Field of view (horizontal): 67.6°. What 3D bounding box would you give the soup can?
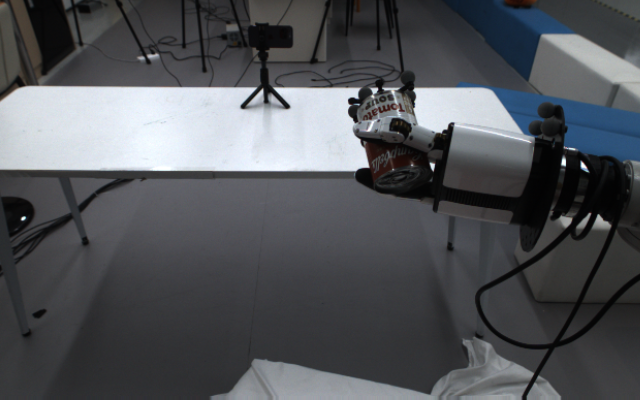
[{"bbox_3d":[0.088,-0.068,0.563,0.067,0.067,0.101,-8,68,-14],"label":"soup can"}]
